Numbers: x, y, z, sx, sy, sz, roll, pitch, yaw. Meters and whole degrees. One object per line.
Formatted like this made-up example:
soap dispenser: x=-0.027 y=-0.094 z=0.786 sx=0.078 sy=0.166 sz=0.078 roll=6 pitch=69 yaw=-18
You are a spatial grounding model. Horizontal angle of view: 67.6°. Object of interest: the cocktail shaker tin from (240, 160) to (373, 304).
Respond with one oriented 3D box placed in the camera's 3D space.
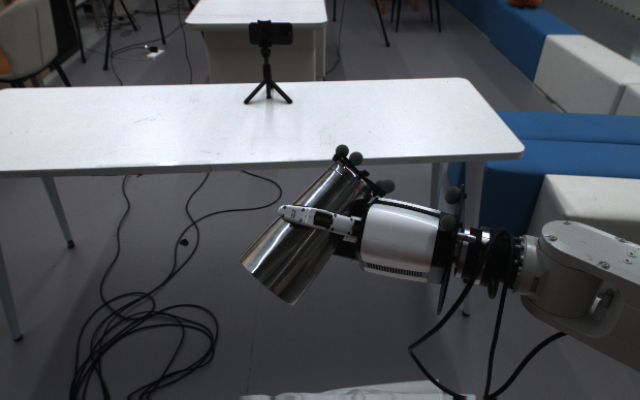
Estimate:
cocktail shaker tin: x=-0.010 y=0.035 z=0.612 sx=0.170 sy=0.093 sz=0.093 roll=-48 pitch=49 yaw=-3
